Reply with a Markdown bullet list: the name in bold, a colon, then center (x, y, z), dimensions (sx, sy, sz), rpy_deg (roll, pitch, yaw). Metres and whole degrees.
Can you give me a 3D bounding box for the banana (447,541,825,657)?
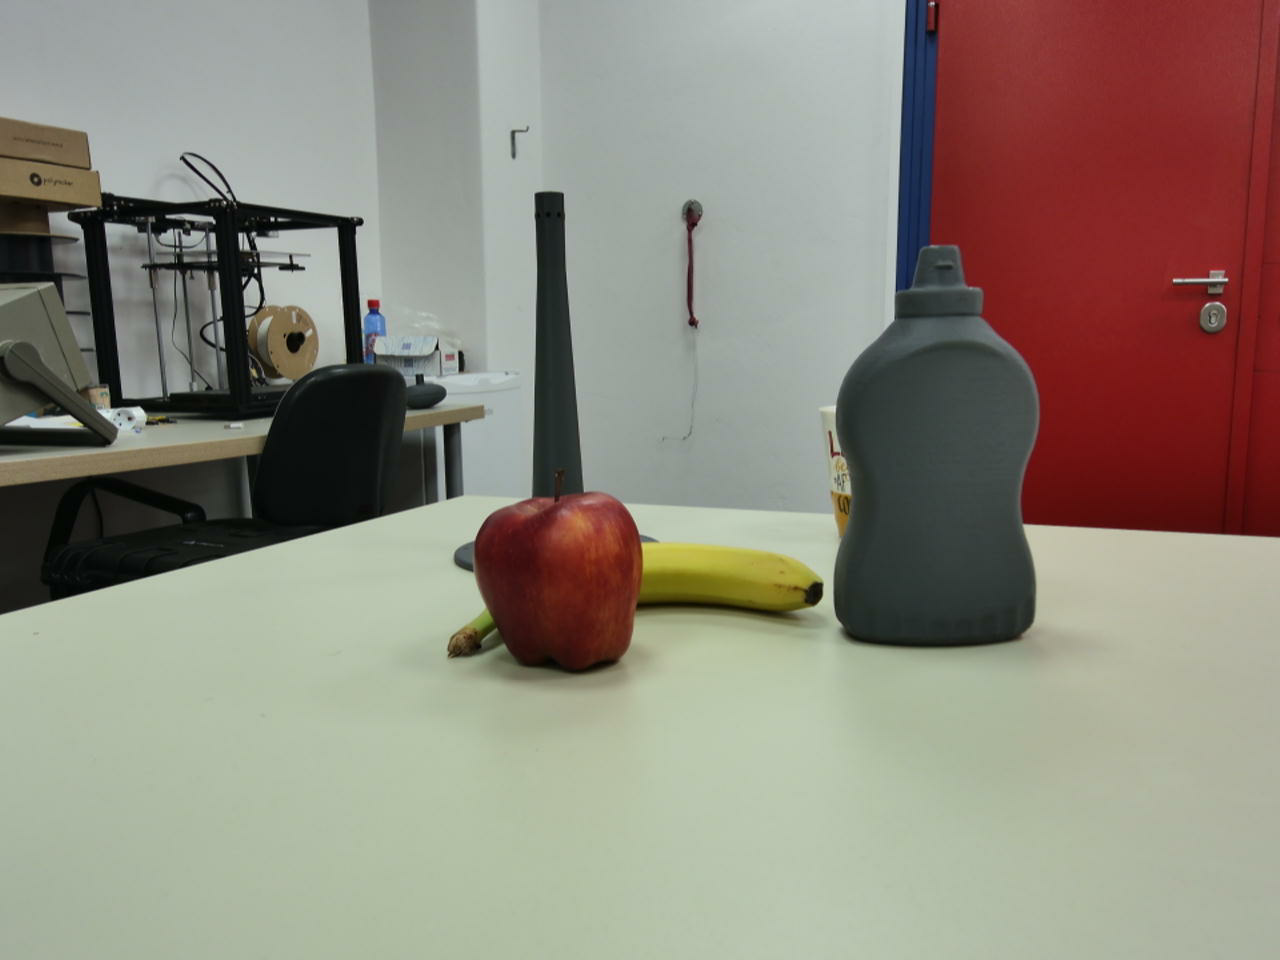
- **banana**: center (-0.006, 0.058, 0.543), dimensions (0.196, 0.041, 0.094), rpy_deg (-1, 6, -12)
